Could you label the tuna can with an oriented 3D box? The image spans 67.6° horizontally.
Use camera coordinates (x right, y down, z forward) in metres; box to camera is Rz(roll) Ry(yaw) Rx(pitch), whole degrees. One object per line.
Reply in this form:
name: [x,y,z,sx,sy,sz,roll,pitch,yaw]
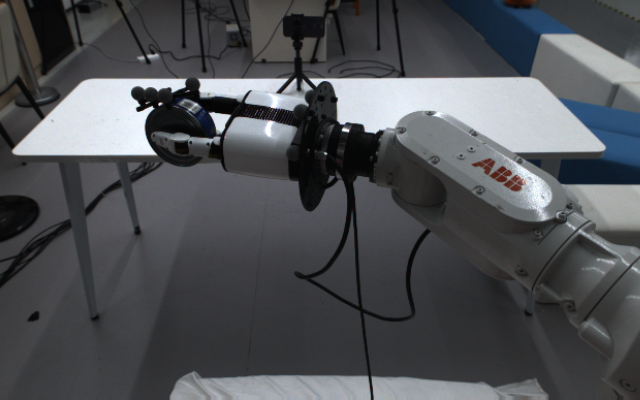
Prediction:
tuna can: [-0.177,-0.086,0.630,0.085,0.085,0.034,9,32,10]
